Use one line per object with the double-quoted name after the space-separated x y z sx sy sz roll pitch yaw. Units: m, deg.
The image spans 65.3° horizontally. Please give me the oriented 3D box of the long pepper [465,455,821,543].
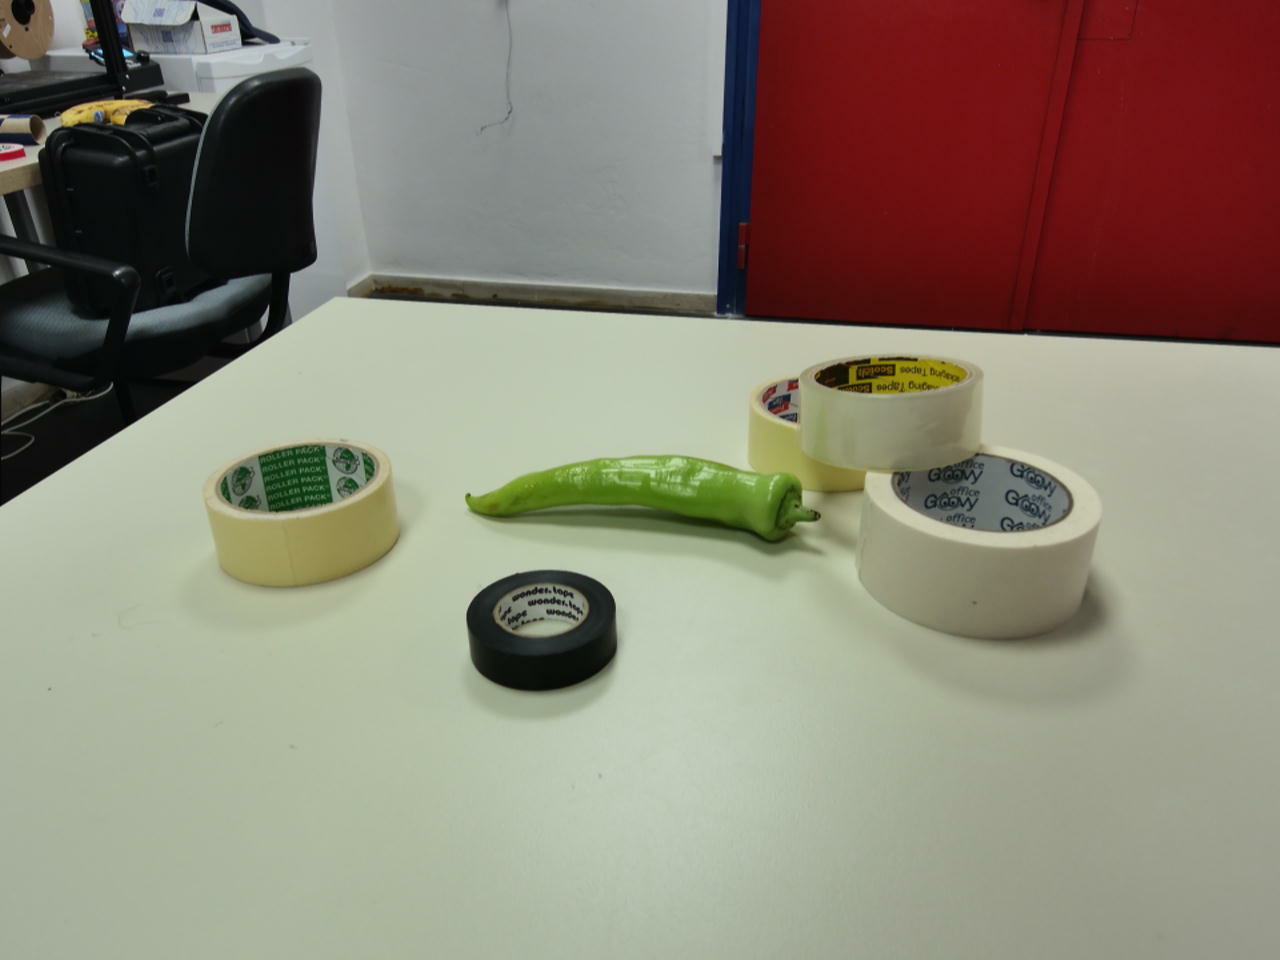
0.000 0.004 0.541 0.197 0.038 0.046 6 26 13 "long pepper"
